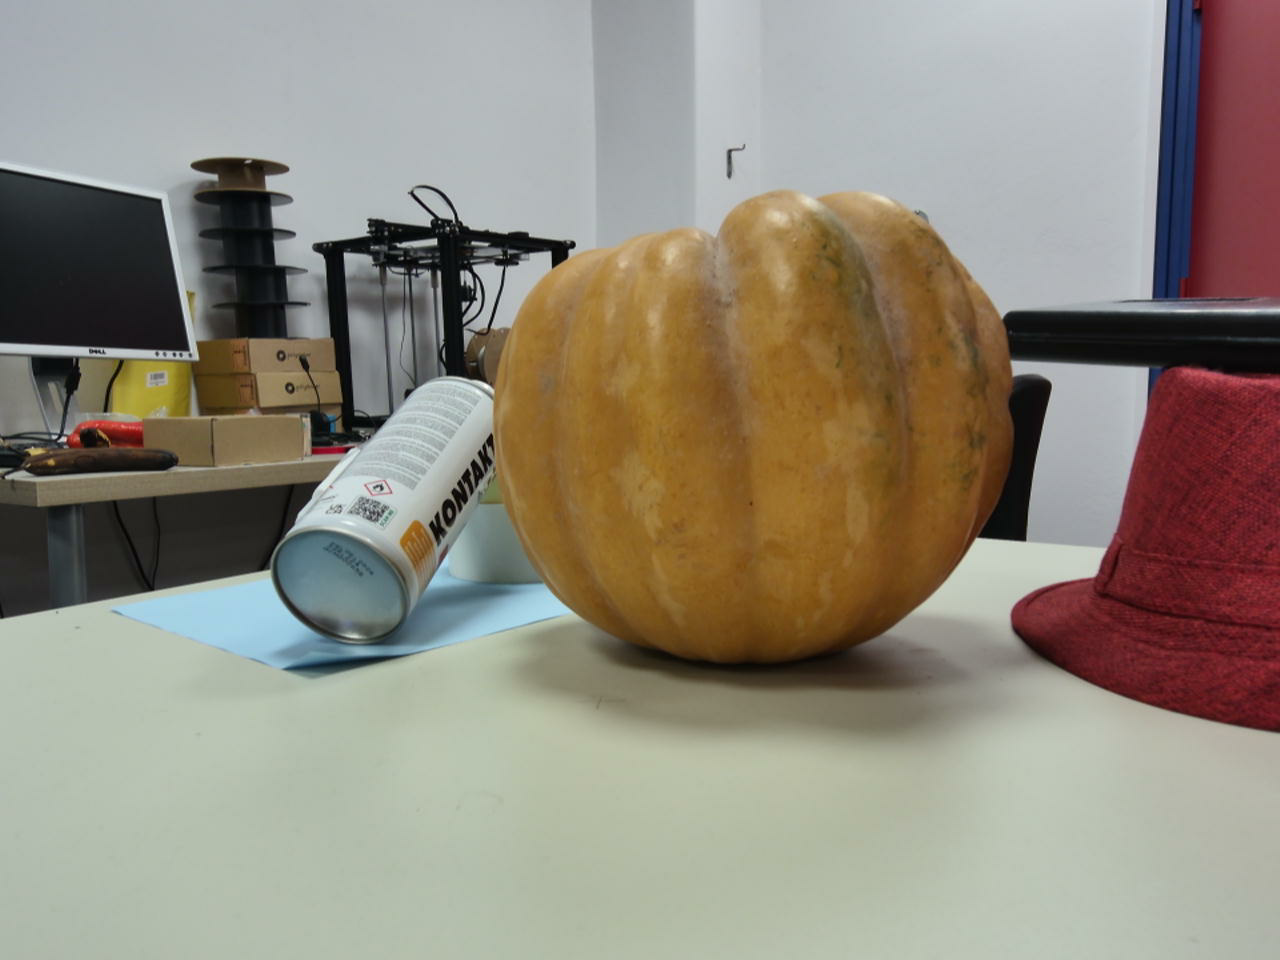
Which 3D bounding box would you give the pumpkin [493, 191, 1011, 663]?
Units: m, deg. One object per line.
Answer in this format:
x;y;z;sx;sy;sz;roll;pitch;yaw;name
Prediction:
0.048;-0.020;0.448;0.230;0.194;0.230;1;3;0;pumpkin
